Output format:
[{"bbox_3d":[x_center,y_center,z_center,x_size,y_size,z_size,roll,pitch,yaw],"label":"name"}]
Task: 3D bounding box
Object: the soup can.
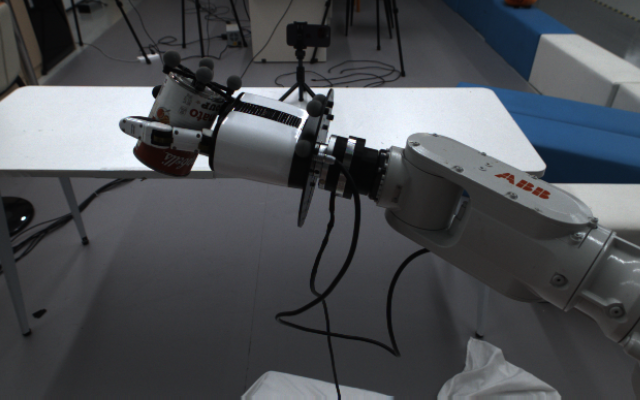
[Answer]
[{"bbox_3d":[-0.157,-0.084,0.542,0.067,0.101,0.067,28,18,-10],"label":"soup can"}]
